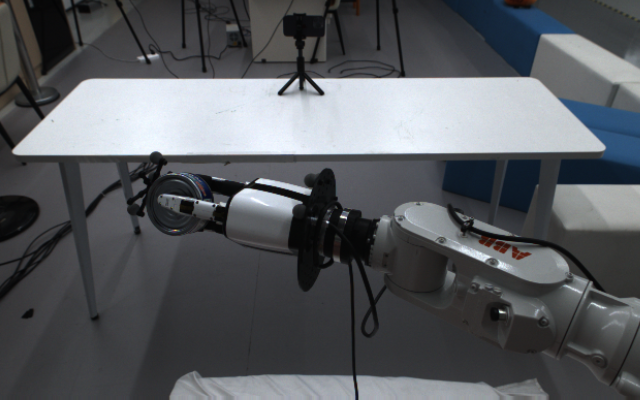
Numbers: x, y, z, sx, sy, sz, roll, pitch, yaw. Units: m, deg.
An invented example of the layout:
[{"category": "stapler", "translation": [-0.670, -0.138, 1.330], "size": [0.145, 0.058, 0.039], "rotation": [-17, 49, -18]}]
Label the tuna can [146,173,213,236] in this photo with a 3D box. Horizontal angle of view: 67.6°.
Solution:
[{"category": "tuna can", "translation": [-0.189, 0.005, 0.657], "size": [0.085, 0.085, 0.034], "rotation": [9, 7, 9]}]
